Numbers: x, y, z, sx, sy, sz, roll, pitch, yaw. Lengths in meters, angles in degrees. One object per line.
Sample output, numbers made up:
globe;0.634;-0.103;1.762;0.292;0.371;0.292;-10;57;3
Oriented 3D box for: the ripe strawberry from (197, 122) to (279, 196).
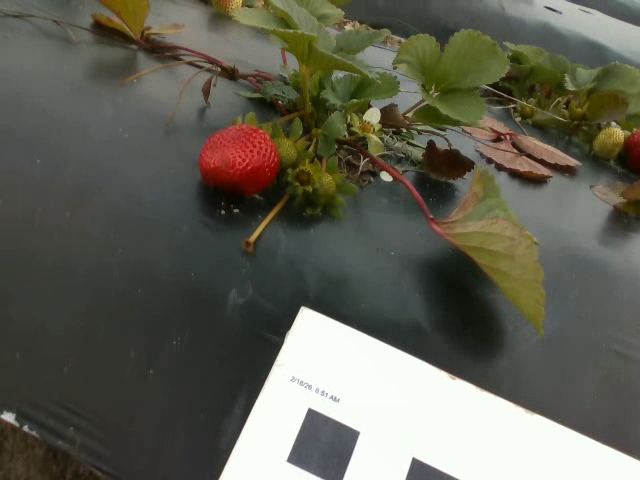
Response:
ripe strawberry;-0.013;-0.012;0.092;0.018;0.014;0.017;33;20;0
